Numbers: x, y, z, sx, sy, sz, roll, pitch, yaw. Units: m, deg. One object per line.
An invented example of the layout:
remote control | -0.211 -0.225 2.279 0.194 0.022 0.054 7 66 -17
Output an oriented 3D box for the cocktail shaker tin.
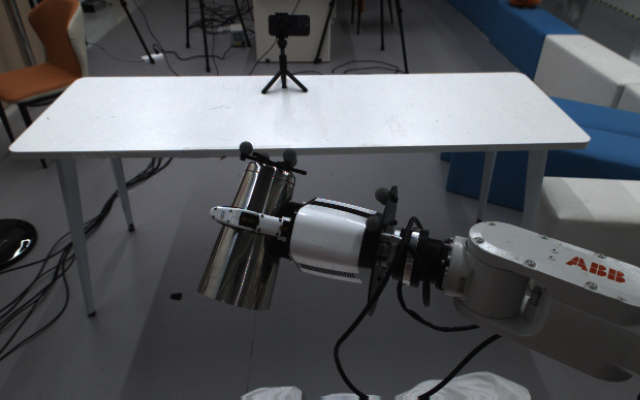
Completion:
cocktail shaker tin | -0.085 0.043 0.611 0.093 0.170 0.093 16 -6 2
